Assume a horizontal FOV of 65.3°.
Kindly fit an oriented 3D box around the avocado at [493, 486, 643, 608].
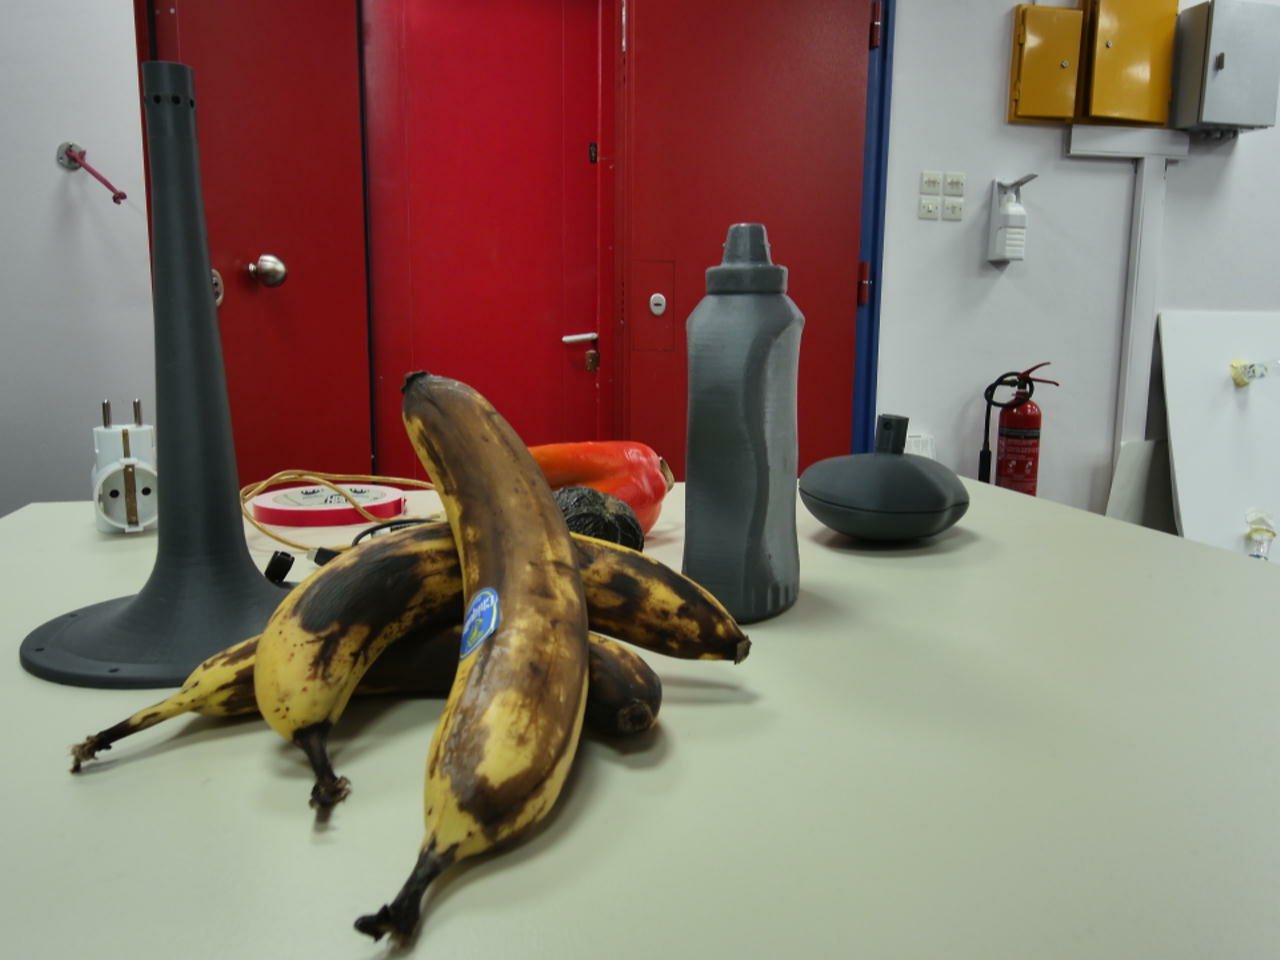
[{"bbox_3d":[-0.039,0.035,0.527,0.092,0.062,0.062,-5,9,-36],"label":"avocado"}]
